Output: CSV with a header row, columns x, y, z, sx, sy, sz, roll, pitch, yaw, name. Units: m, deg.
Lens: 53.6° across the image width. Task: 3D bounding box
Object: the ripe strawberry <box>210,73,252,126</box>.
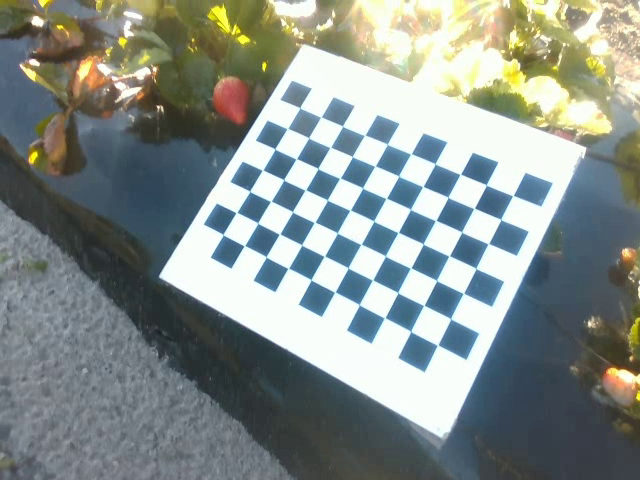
x,y,z,sx,sy,sz,roll,pitch,yaw,name
-0.101,-0.151,0.691,0.040,0.065,0.040,-21,-23,1,ripe strawberry
